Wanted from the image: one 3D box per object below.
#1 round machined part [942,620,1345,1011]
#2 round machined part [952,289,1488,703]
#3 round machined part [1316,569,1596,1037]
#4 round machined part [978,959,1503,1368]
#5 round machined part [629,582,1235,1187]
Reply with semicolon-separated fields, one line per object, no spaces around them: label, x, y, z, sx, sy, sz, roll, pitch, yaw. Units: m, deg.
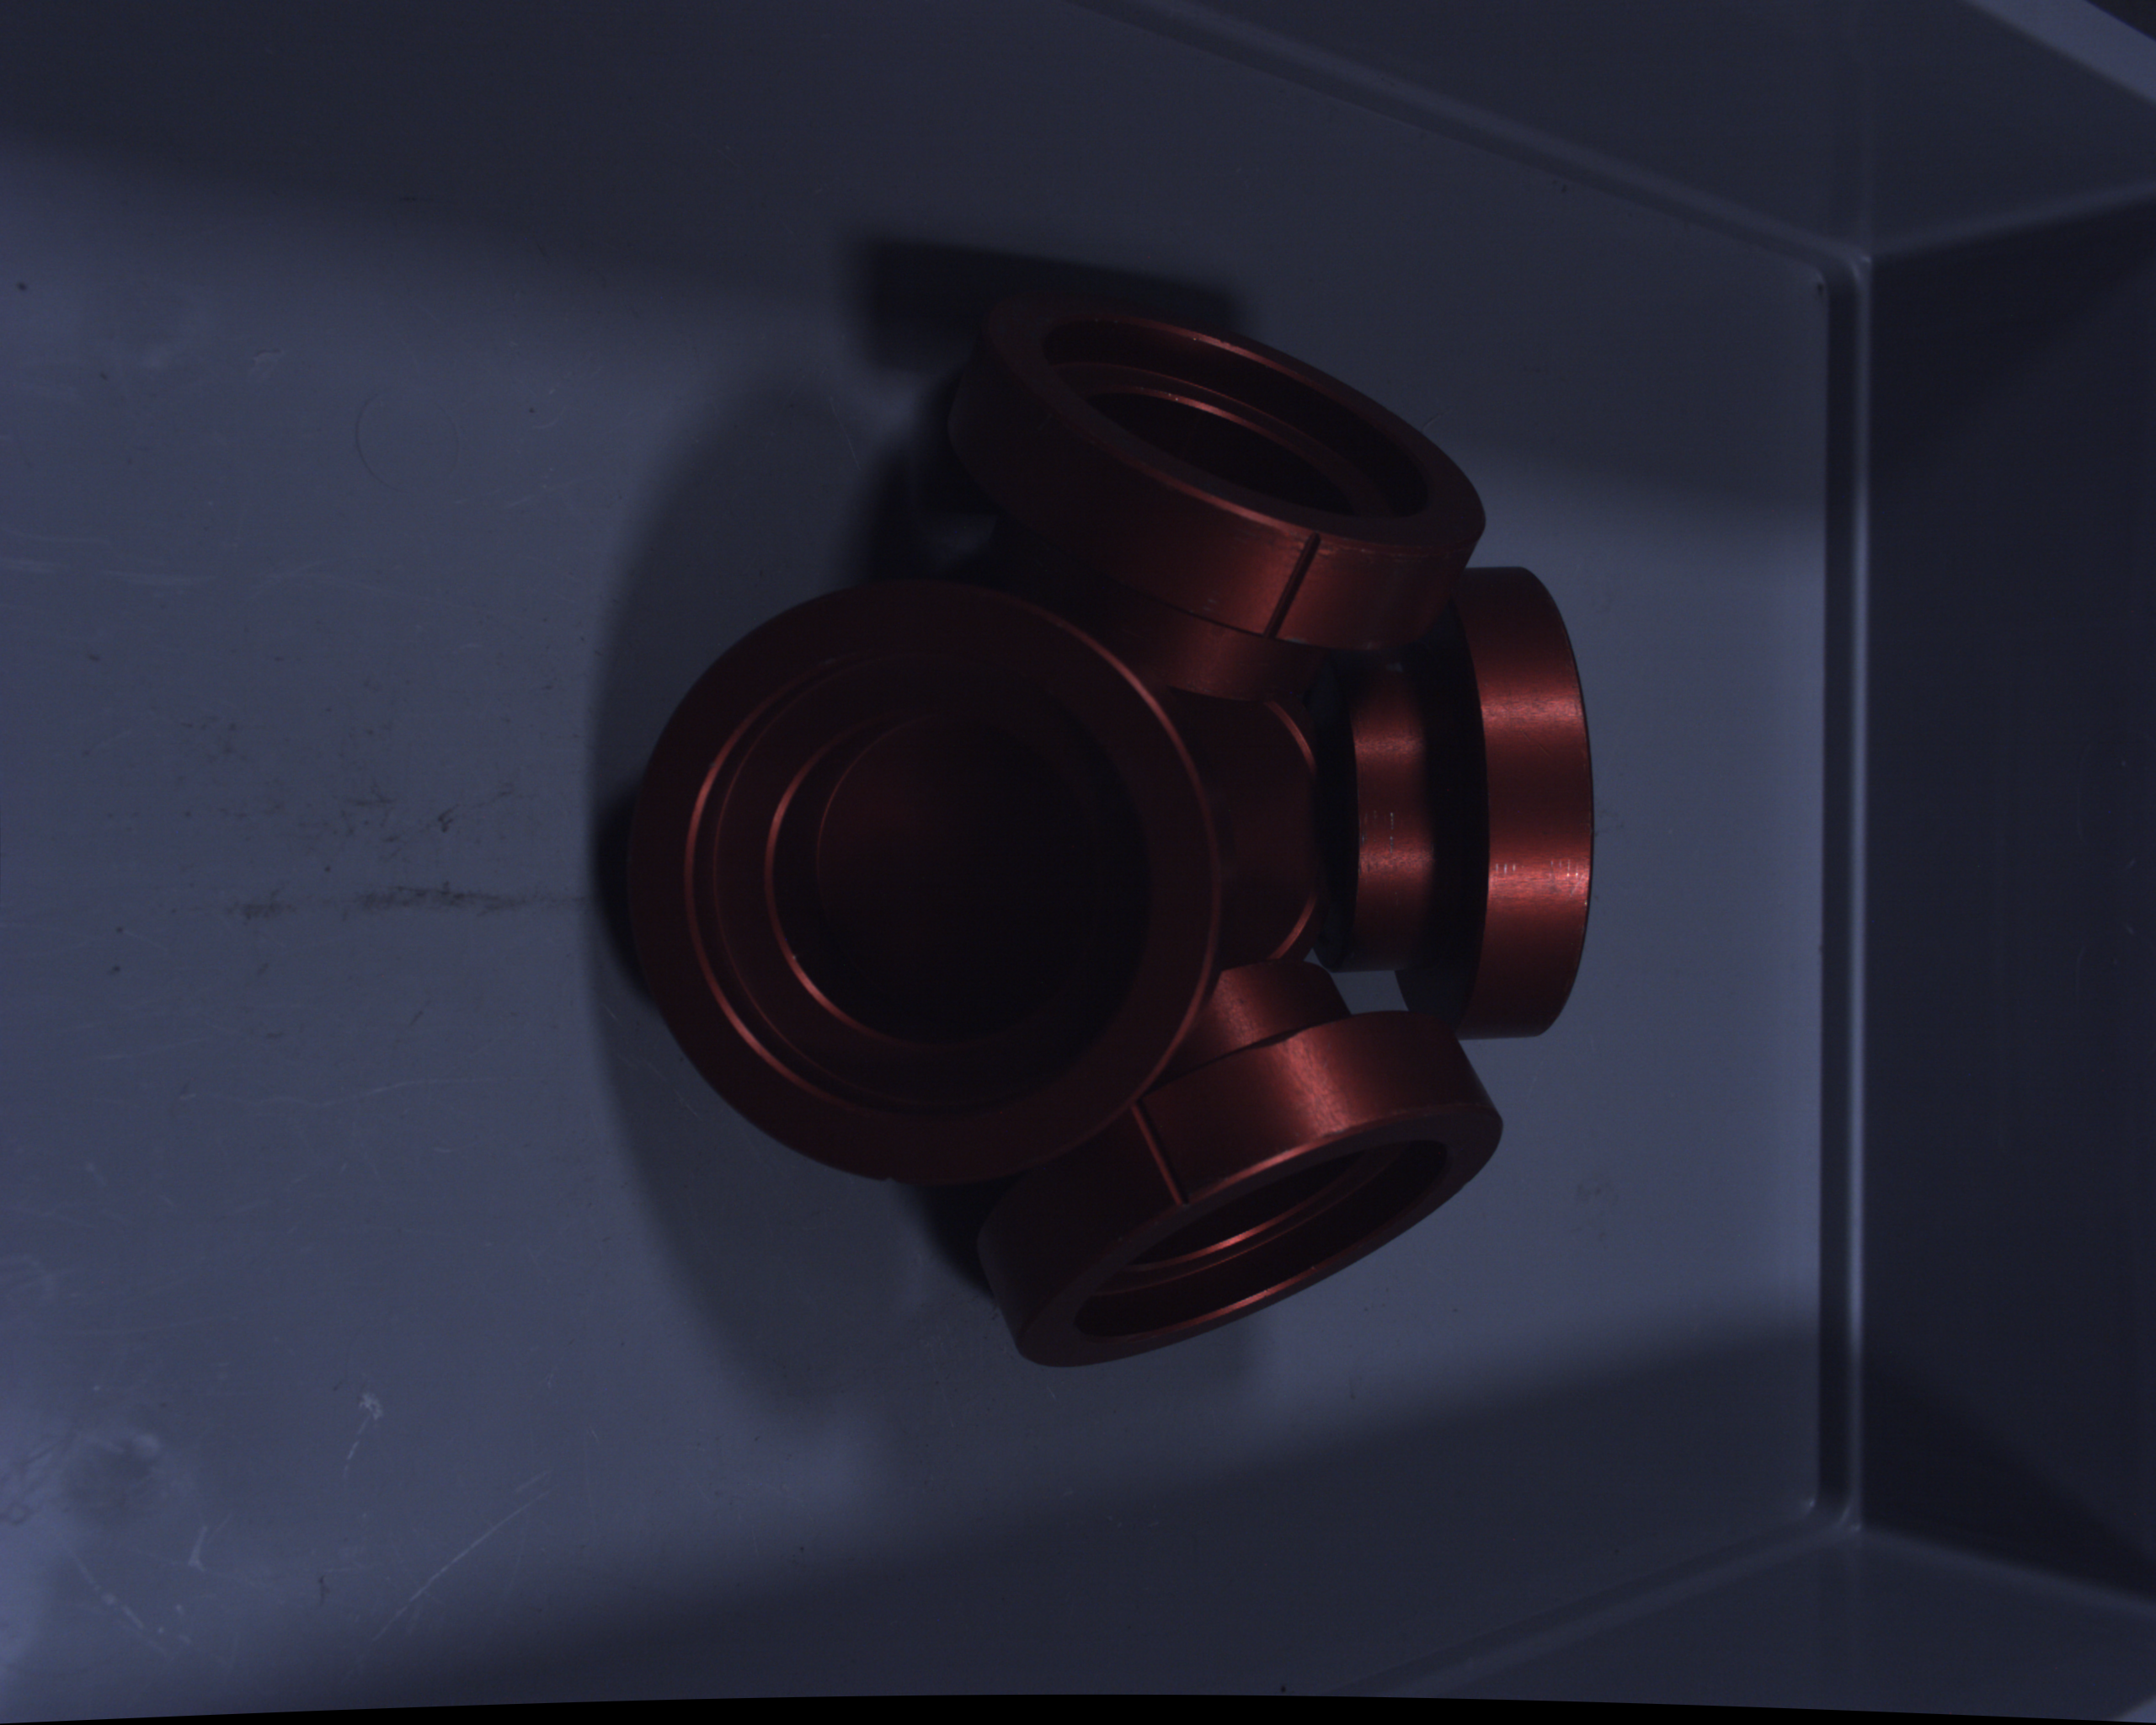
round machined part;0.014;-0.006;0.406;0.099;0.042;0.097;0;90;-40
round machined part;0.023;-0.066;0.390;0.099;0.098;0.042;-5;131;-40
round machined part;0.071;-0.012;0.432;0.042;0.098;0.097;-2;92;-4
round machined part;0.027;0.054;0.393;0.099;0.097;0.042;-2;55;-40
round machined part;-0.021;0.002;0.353;0.042;0.098;0.097;-24;109;-77
